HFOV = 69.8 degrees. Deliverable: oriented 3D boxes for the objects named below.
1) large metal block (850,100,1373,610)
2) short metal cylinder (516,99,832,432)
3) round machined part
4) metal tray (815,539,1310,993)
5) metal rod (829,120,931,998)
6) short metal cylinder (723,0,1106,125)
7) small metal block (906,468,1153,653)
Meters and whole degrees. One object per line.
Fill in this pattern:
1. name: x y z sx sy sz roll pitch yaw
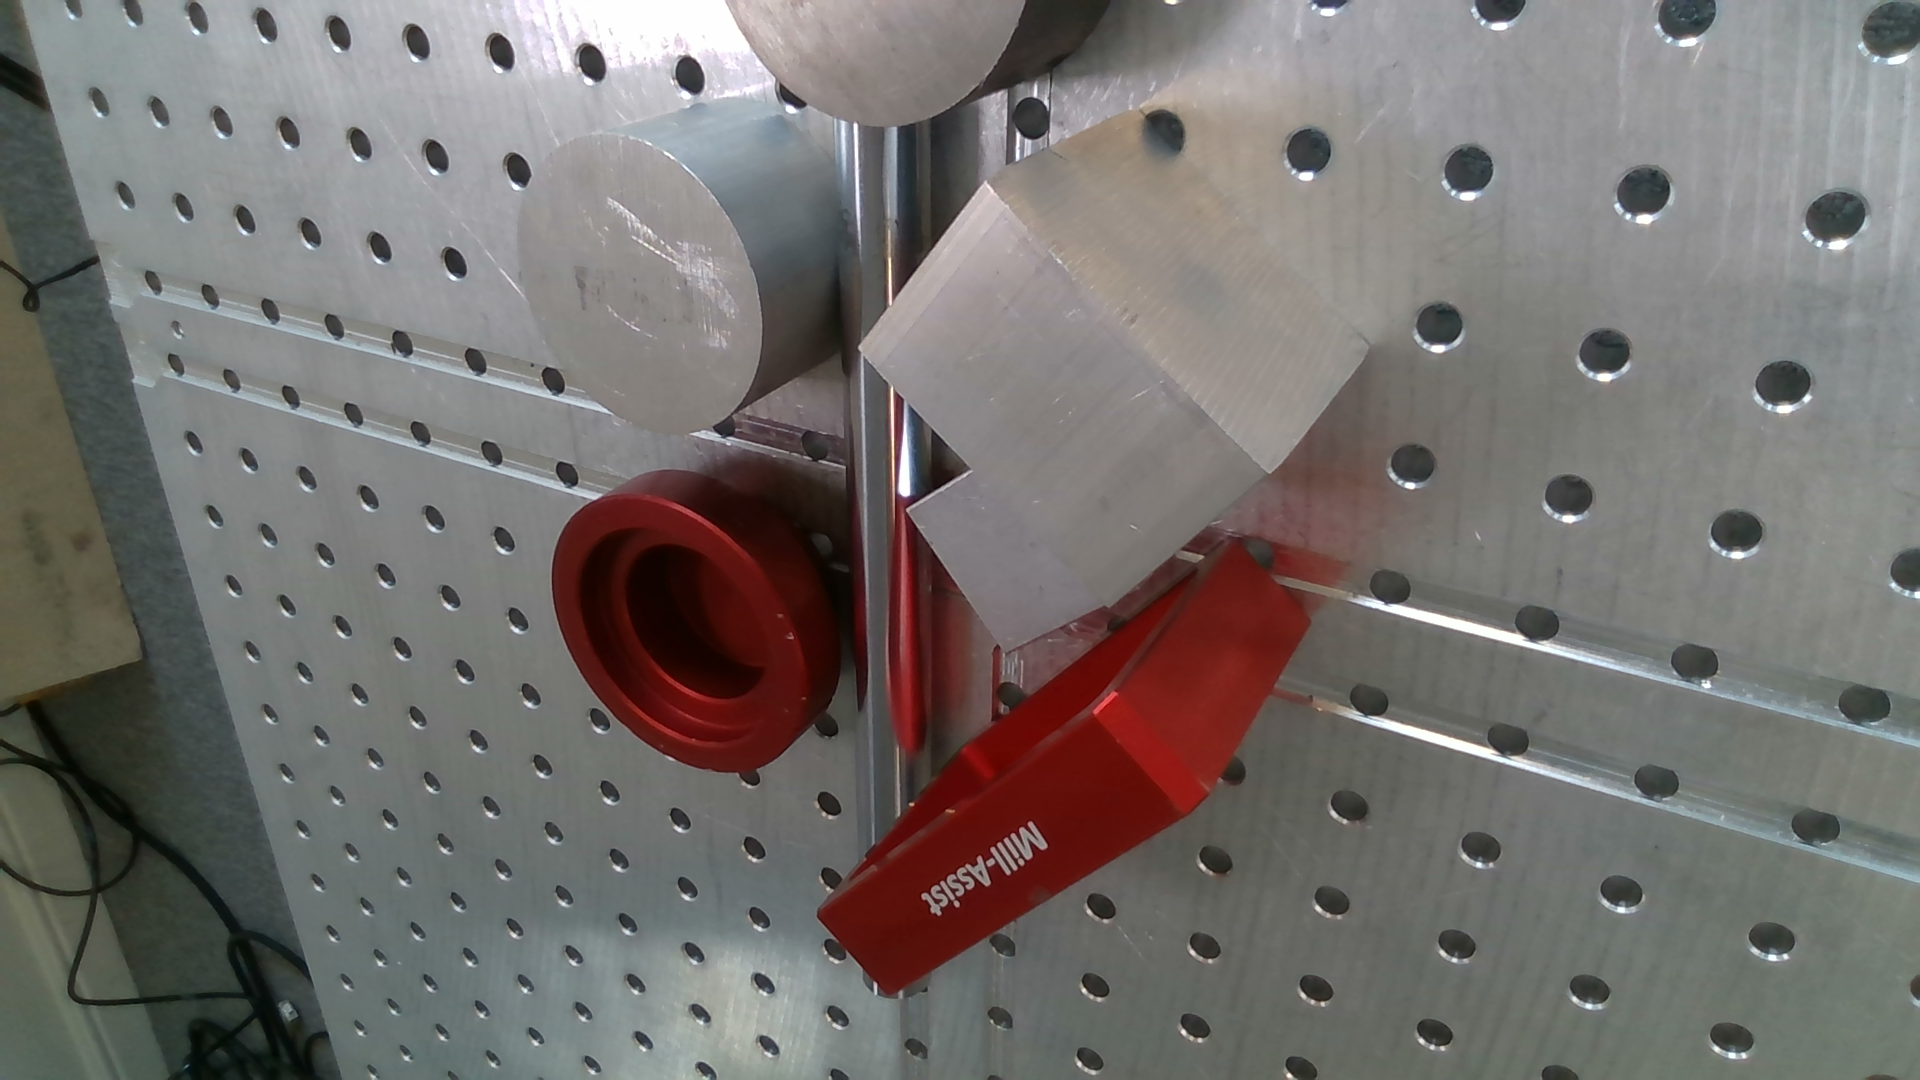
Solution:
1. large metal block: 0.037 -0.044 0.310 0.080 0.080 0.050 46 130 2
2. short metal cylinder: -0.074 -0.076 0.379 0.080 0.050 0.080 15 122 25
3. round machined part: -0.079 0.022 0.442 0.098 0.042 0.098 15 122 25
4. metal tray: 0.026 0.061 0.367 0.030 0.090 0.130 48 129 1
5. metal rod: -0.022 0.022 0.417 0.025 0.025 0.301 15 122 24
6. short metal cylinder: -0.009 -0.138 0.305 0.080 0.050 0.080 15 122 25
7. small metal block: 0.022 -0.004 0.377 0.050 0.025 0.050 -29 98 39
